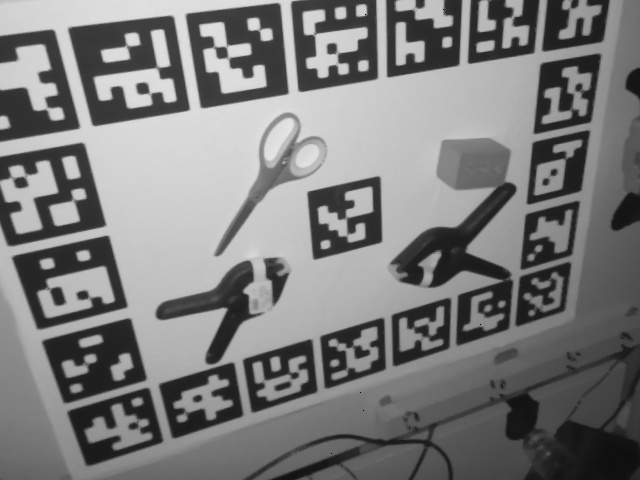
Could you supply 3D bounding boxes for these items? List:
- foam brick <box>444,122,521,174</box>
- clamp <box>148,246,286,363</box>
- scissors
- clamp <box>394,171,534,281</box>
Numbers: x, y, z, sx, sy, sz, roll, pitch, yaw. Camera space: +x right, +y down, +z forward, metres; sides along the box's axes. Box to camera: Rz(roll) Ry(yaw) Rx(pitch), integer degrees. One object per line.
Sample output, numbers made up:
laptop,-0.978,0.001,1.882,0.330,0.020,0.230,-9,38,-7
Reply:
foam brick,0.207,-0.118,0.886,0.079,0.051,0.052,-8,116,-23
clamp,-0.111,0.065,0.856,0.165,0.036,0.122,-38,115,-2
scissors,-0.064,-0.078,0.810,0.088,0.016,0.201,29,103,-23
clamp,0.200,0.003,0.948,0.204,0.036,0.164,-16,122,-13
